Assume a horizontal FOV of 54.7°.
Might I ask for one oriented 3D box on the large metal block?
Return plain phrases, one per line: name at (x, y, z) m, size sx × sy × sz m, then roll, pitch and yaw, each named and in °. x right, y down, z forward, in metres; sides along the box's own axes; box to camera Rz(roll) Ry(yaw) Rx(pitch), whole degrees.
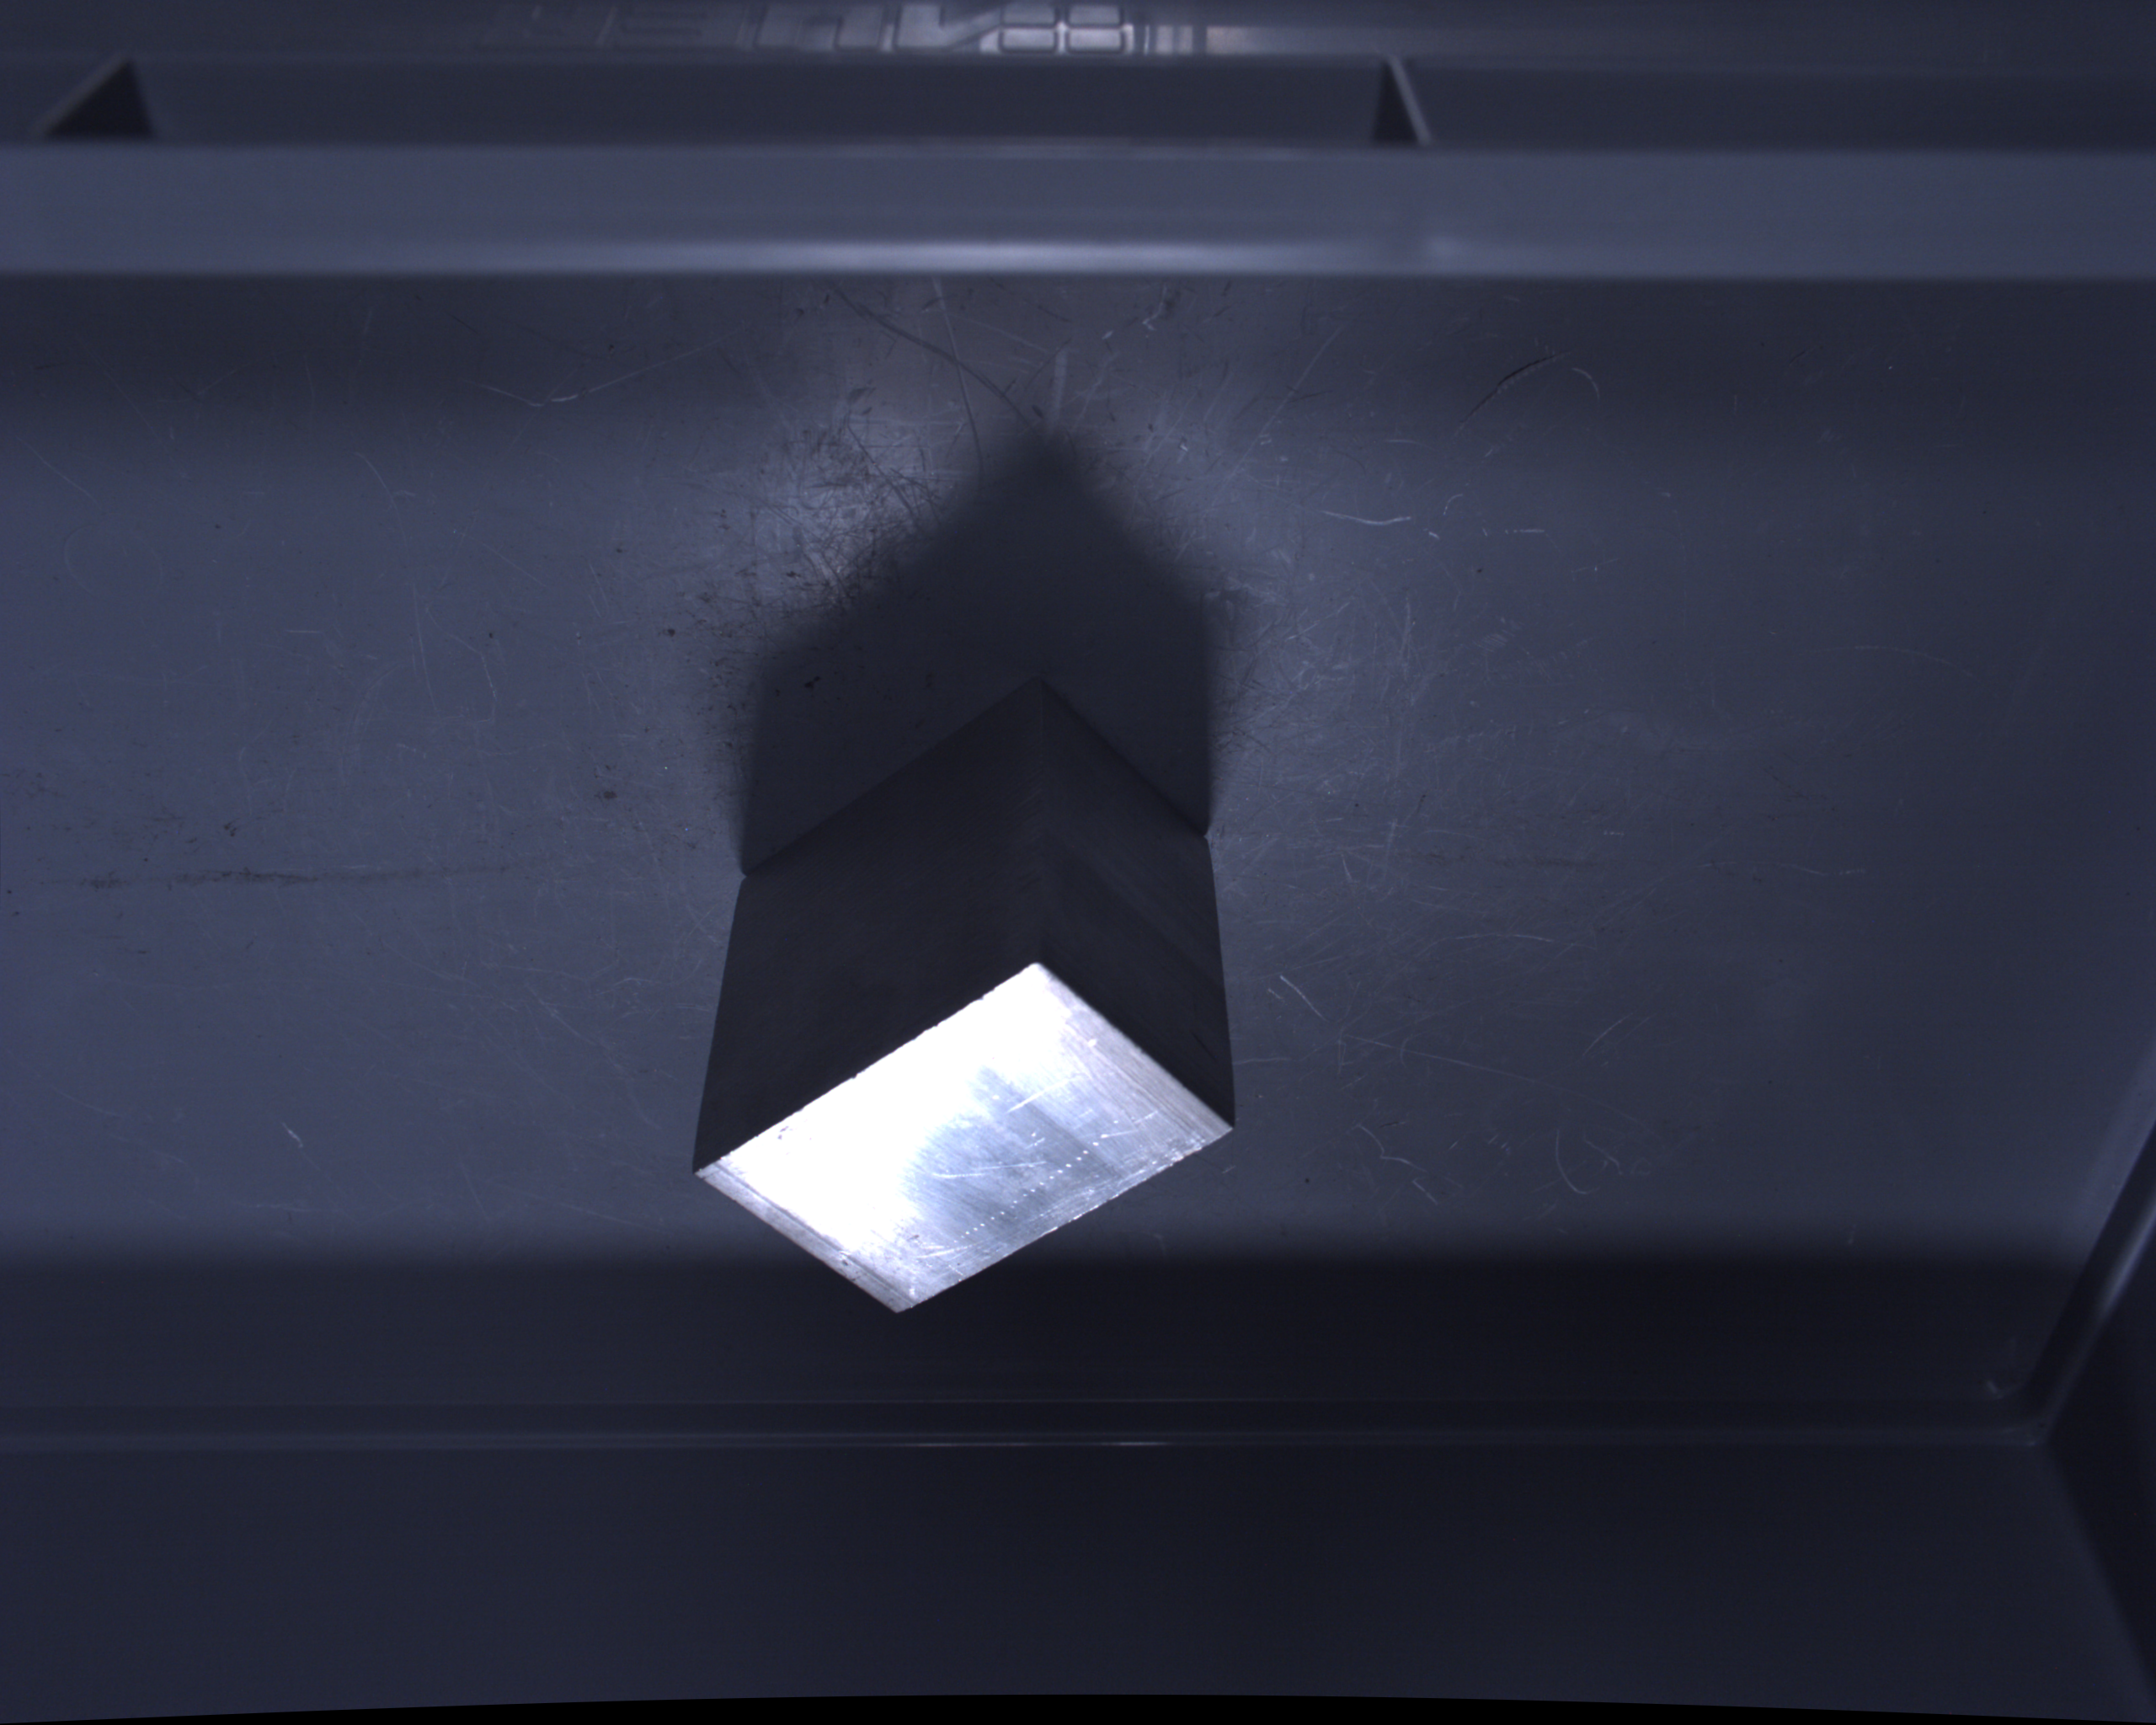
large metal block at (-0.020, 0.025, 0.390) m, size 0.080 × 0.080 × 0.050 m, roll -32°, pitch 123°, yaw 24°
